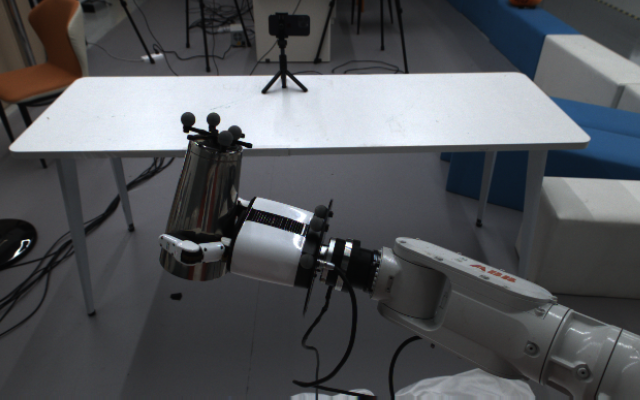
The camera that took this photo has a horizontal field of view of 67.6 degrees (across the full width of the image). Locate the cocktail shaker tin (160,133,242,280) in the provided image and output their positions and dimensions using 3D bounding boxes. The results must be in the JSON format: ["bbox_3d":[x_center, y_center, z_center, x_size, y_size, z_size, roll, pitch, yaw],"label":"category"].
[{"bbox_3d":[-0.147,0.007,0.622,0.093,0.170,0.093,13,20,-5],"label":"cocktail shaker tin"}]
